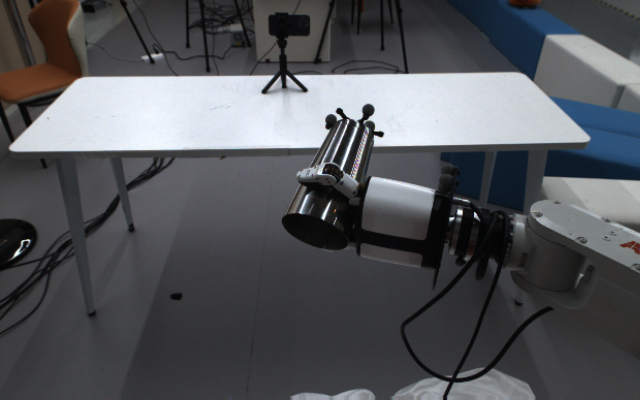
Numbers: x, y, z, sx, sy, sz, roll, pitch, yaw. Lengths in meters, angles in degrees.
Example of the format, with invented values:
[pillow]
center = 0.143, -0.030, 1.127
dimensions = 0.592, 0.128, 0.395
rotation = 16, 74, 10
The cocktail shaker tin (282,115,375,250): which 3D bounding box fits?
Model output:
[cocktail shaker tin]
center = 0.019, -0.028, 0.665
dimensions = 0.093, 0.093, 0.170
rotation = 13, 60, 16
